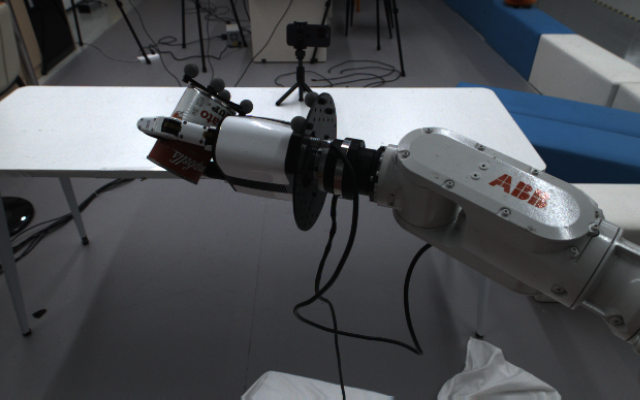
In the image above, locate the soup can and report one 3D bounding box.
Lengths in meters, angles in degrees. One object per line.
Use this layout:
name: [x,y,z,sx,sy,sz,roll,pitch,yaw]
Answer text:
soup can: [-0.154,-0.078,0.587,0.067,0.101,0.067,29,-2,1]
